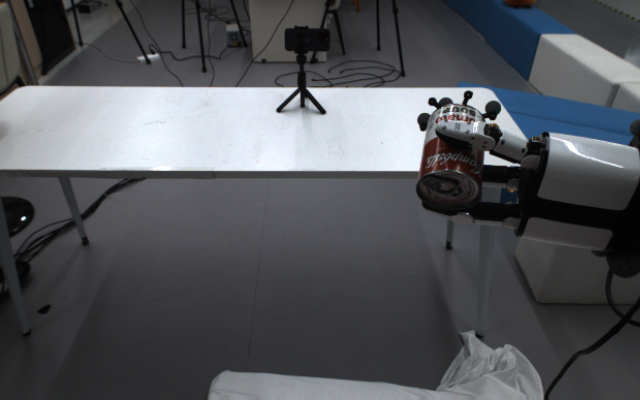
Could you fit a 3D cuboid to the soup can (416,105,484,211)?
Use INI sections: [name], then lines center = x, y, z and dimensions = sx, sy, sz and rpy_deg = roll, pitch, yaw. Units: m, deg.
[soup can]
center = 0.148, -0.050, 0.538
dimensions = 0.067, 0.067, 0.101
rpy_deg = 9, 56, 10
